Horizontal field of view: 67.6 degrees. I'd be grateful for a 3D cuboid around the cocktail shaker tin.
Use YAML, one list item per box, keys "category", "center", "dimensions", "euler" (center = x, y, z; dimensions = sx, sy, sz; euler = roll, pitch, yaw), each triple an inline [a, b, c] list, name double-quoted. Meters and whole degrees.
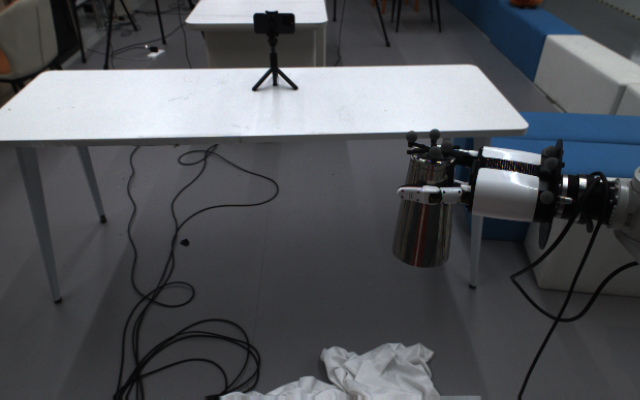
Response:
- category: "cocktail shaker tin"
  center: [0.169, 0.004, 0.759]
  dimensions: [0.093, 0.170, 0.093]
  euler: [1, 27, -1]
